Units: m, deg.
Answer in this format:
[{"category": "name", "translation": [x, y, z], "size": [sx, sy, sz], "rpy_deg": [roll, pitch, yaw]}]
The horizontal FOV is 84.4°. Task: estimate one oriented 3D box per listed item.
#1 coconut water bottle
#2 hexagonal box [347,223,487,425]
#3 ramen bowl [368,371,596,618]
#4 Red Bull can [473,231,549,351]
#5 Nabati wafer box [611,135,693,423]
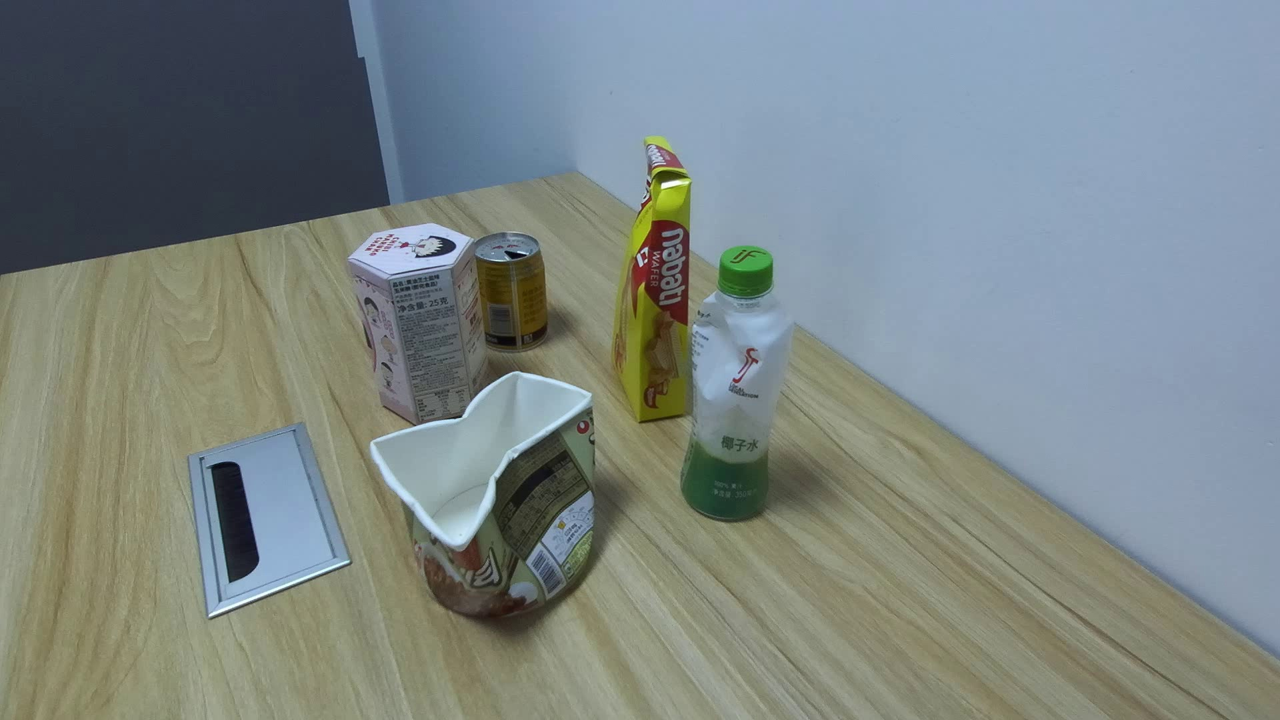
[{"category": "coconut water bottle", "translation": [0.062, 0.016, 0.453], "size": [0.069, 0.187, 0.069], "rpy_deg": [1, 36, -1]}, {"category": "hexagonal box", "translation": [-0.170, -0.027, 0.555], "size": [0.084, 0.136, 0.091], "rpy_deg": [5, 35, 4]}, {"category": "ramen bowl", "translation": [-0.081, 0.082, 0.438], "size": [0.129, 0.093, 0.111], "rpy_deg": [-29, 45, -35]}, {"category": "Red Bull can", "translation": [-0.120, -0.062, 0.649], "size": [0.068, 0.093, 0.068], "rpy_deg": [1, 33, -1]}, {"category": "Nabati wafer box", "translation": [0.012, -0.059, 0.547], "size": [0.043, 0.205, 0.113], "rpy_deg": [-5, 34, -11]}]
